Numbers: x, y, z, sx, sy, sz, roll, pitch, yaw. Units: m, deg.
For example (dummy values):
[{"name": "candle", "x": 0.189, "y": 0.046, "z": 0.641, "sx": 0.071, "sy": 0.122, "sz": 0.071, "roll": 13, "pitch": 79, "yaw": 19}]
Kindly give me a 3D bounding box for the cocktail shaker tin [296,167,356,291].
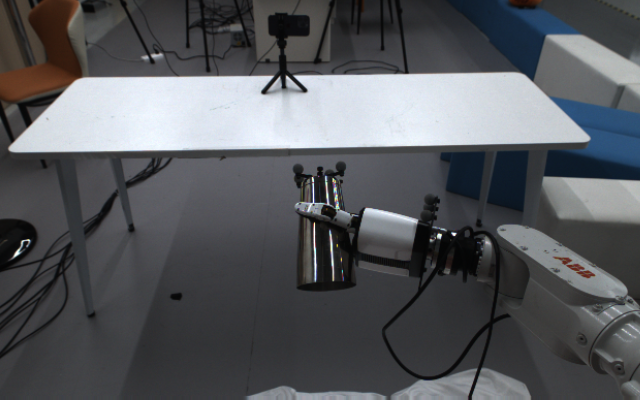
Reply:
[{"name": "cocktail shaker tin", "x": 0.004, "y": 0.051, "z": 0.761, "sx": 0.093, "sy": 0.093, "sz": 0.170, "roll": -2, "pitch": 70, "yaw": -5}]
